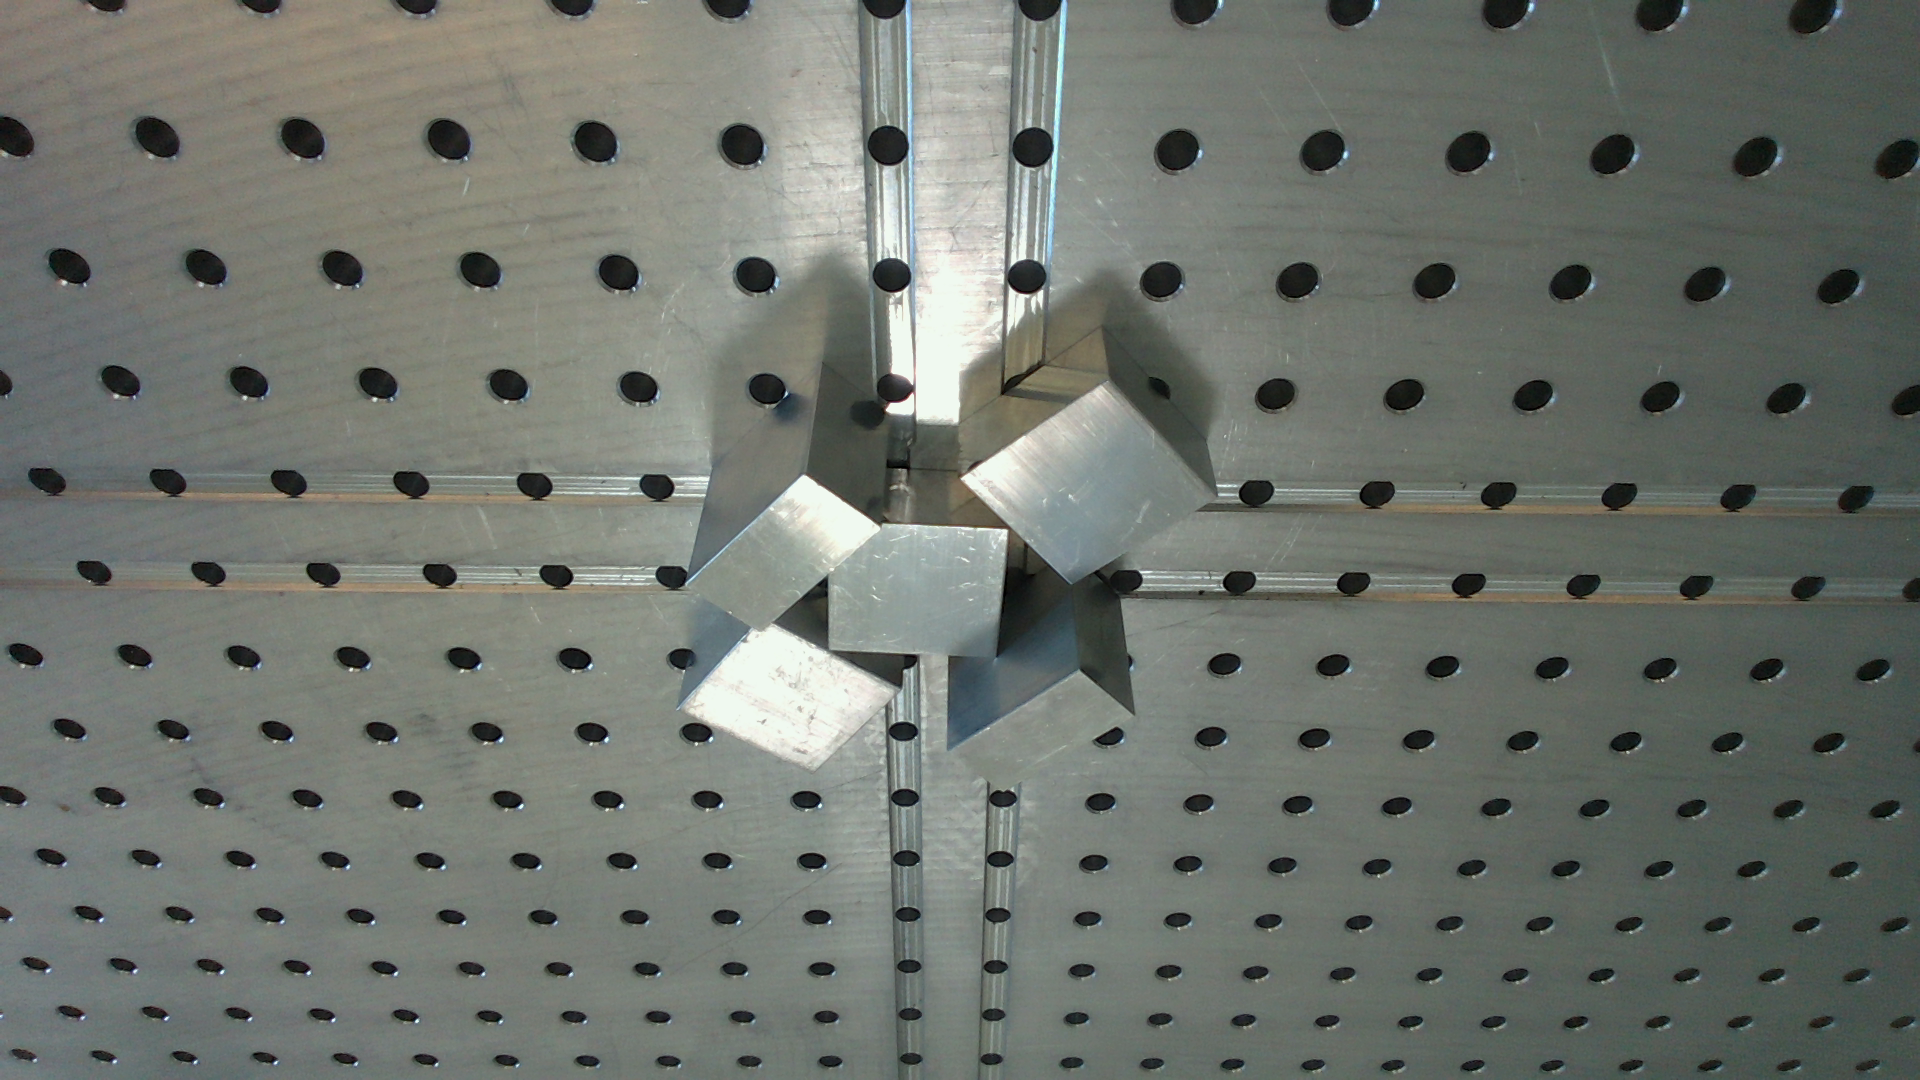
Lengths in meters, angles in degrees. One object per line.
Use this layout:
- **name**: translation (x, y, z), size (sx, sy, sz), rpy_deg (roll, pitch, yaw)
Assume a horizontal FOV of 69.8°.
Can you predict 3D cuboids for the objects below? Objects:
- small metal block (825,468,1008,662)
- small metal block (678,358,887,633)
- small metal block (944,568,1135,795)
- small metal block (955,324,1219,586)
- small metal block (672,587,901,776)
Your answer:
- **small metal block**: translation (-0.013, 0.007, 0.399), size (0.050, 0.025, 0.050), rpy_deg (3, 129, -1)
- **small metal block**: translation (-0.046, -0.012, 0.366), size (0.025, 0.050, 0.050), rpy_deg (36, 122, -27)
- **small metal block**: translation (0.022, 0.040, 0.410), size (0.050, 0.050, 0.025), rpy_deg (-35, 122, 26)
- **small metal block**: translation (0.034, -0.022, 0.375), size (0.050, 0.025, 0.050), rpy_deg (-32, 123, 25)
- **small metal block**: translation (-0.053, 0.041, 0.427), size (0.050, 0.025, 0.050), rpy_deg (30, 123, -24)
